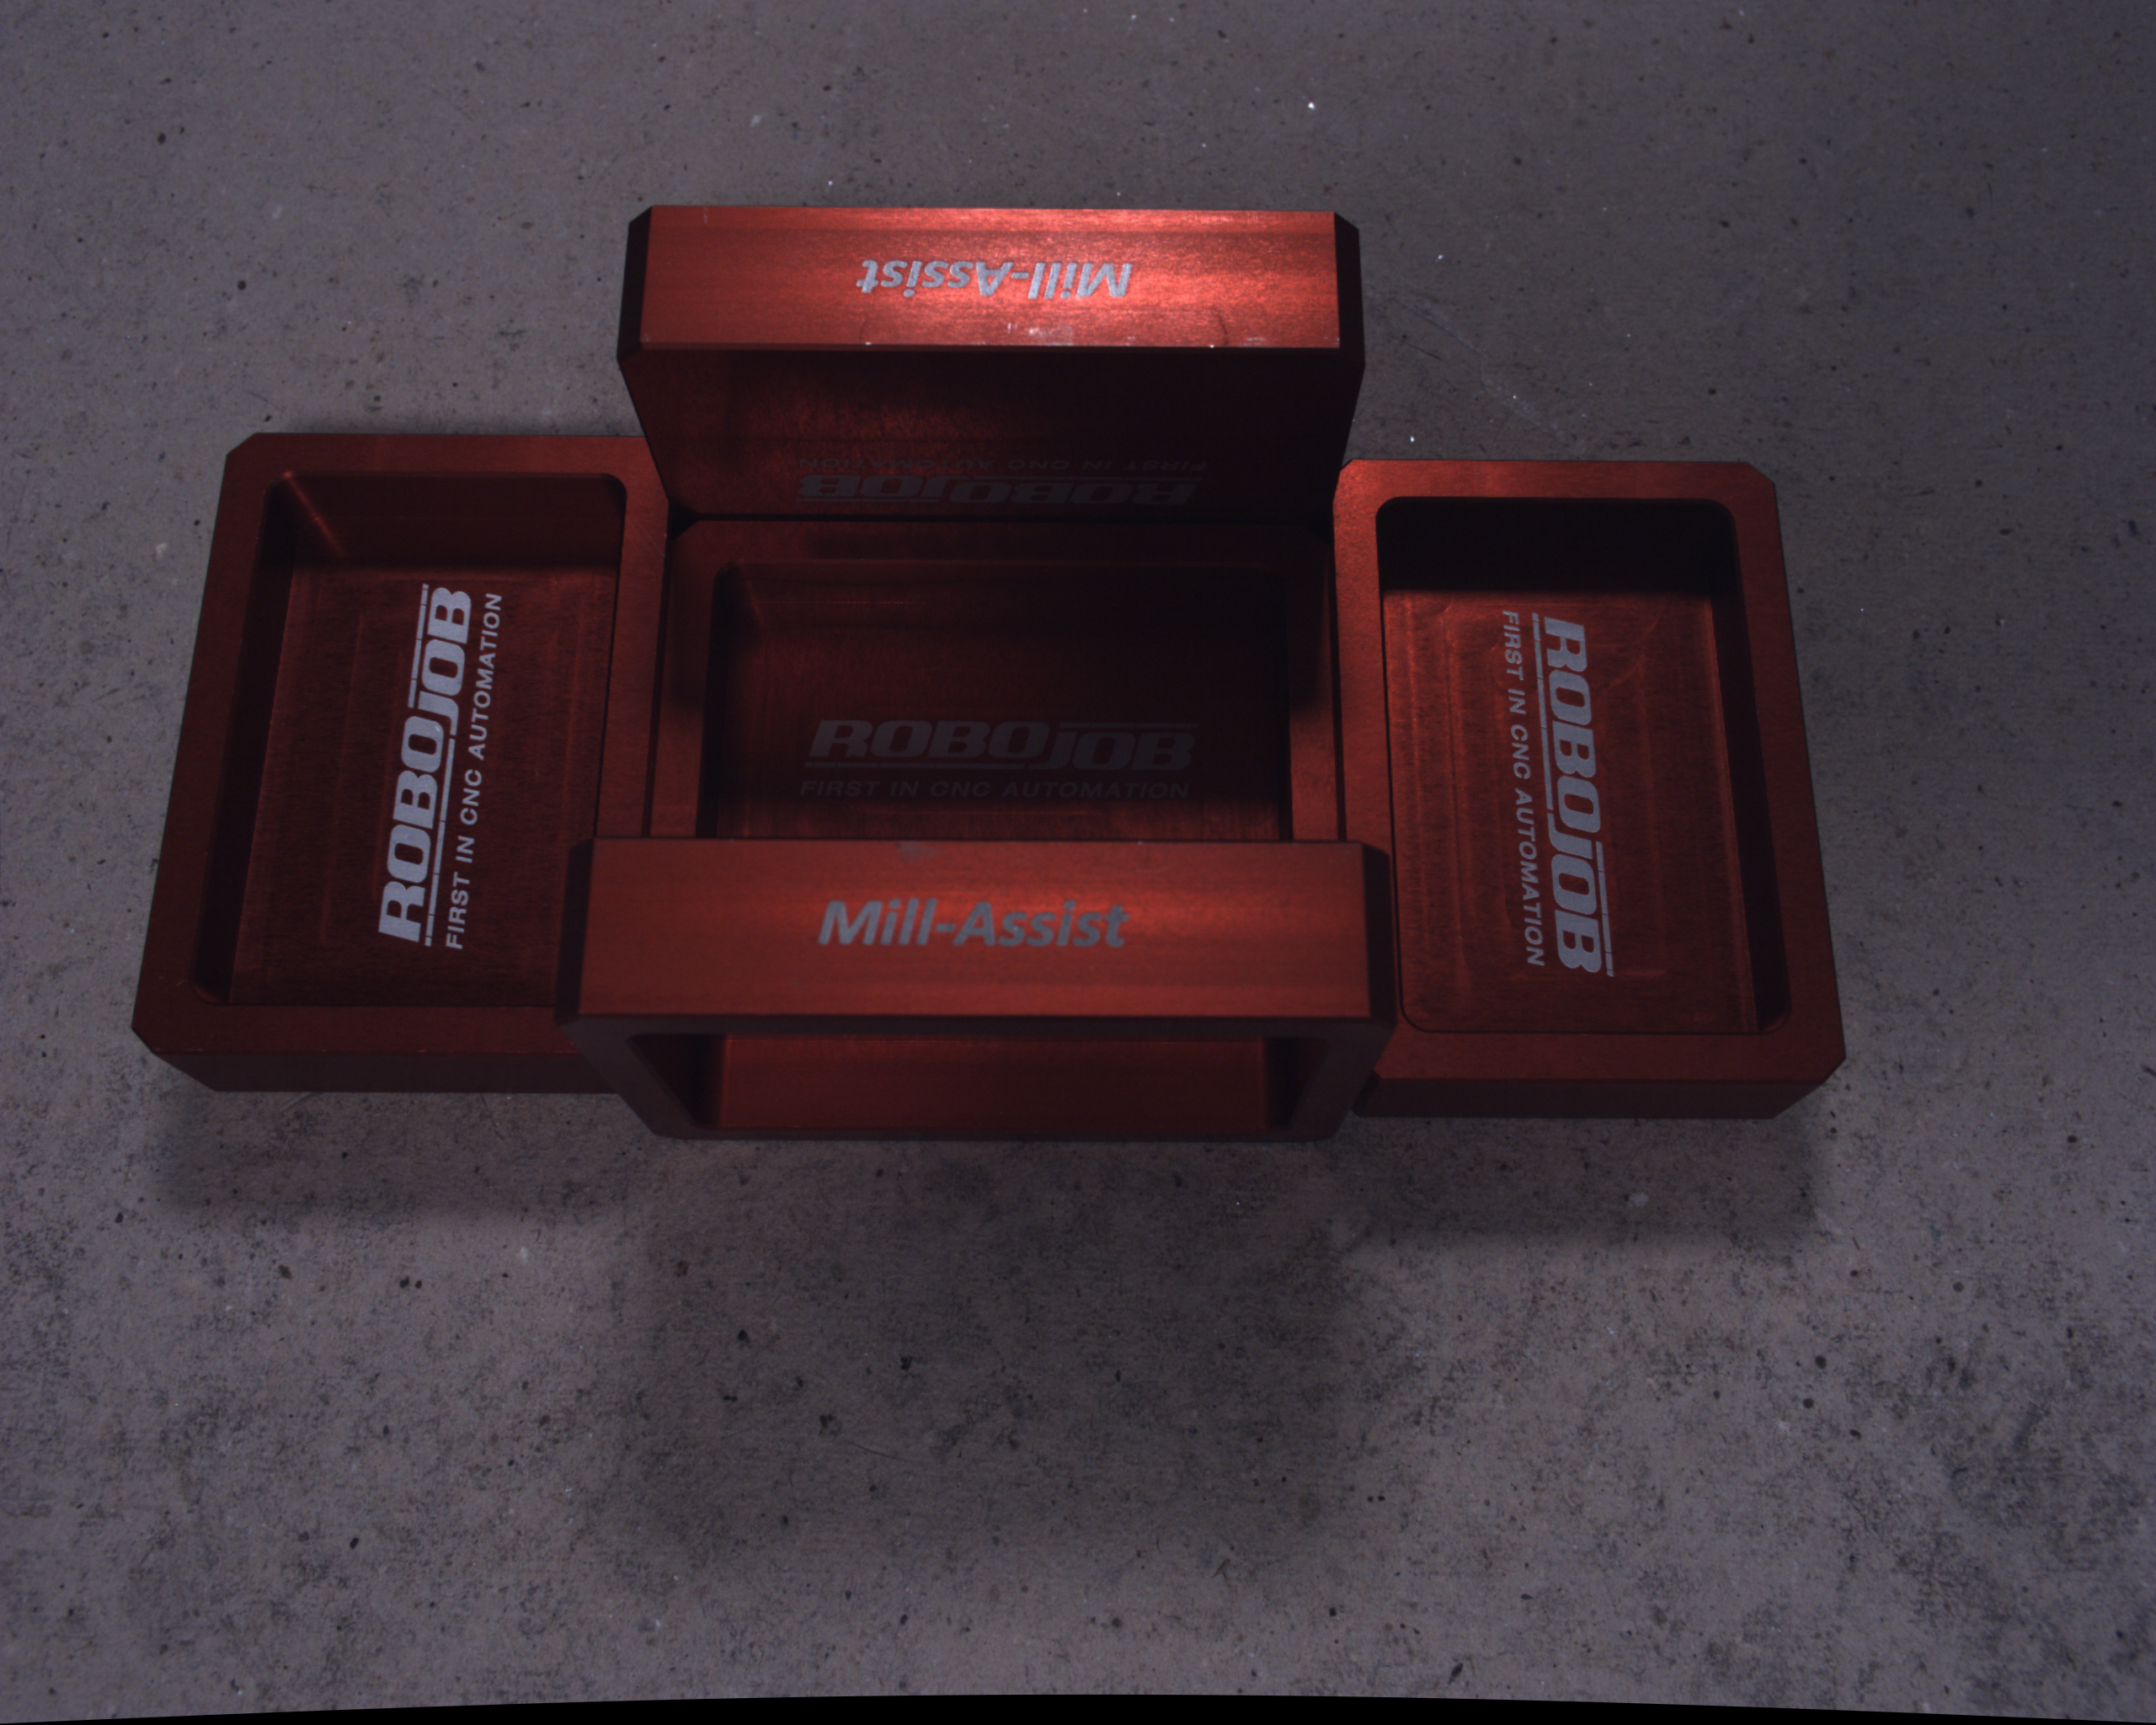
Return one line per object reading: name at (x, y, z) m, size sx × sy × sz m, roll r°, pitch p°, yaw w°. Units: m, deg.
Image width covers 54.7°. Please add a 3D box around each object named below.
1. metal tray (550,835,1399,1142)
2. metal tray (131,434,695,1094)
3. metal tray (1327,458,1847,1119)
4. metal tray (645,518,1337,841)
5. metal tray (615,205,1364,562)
metal tray at (-0.016, 0.025, 0.364) m, size 0.131 × 0.090 × 0.030 m, roll 0°, pitch 70°, yaw 0°
metal tray at (-0.126, -0.021, 0.413) m, size 0.091 × 0.030 × 0.130 m, roll 1°, pitch 70°, yaw 0°
metal tray at (0.095, -0.016, 0.414) m, size 0.091 × 0.030 × 0.130 m, roll 1°, pitch 70°, yaw 0°
metal tray at (-0.016, -0.021, 0.414) m, size 0.131 × 0.030 × 0.090 m, roll 1°, pitch 70°, yaw 0°
metal tray at (-0.015, -0.088, 0.407) m, size 0.131 × 0.090 × 0.030 m, roll 0°, pitch 70°, yaw 0°
